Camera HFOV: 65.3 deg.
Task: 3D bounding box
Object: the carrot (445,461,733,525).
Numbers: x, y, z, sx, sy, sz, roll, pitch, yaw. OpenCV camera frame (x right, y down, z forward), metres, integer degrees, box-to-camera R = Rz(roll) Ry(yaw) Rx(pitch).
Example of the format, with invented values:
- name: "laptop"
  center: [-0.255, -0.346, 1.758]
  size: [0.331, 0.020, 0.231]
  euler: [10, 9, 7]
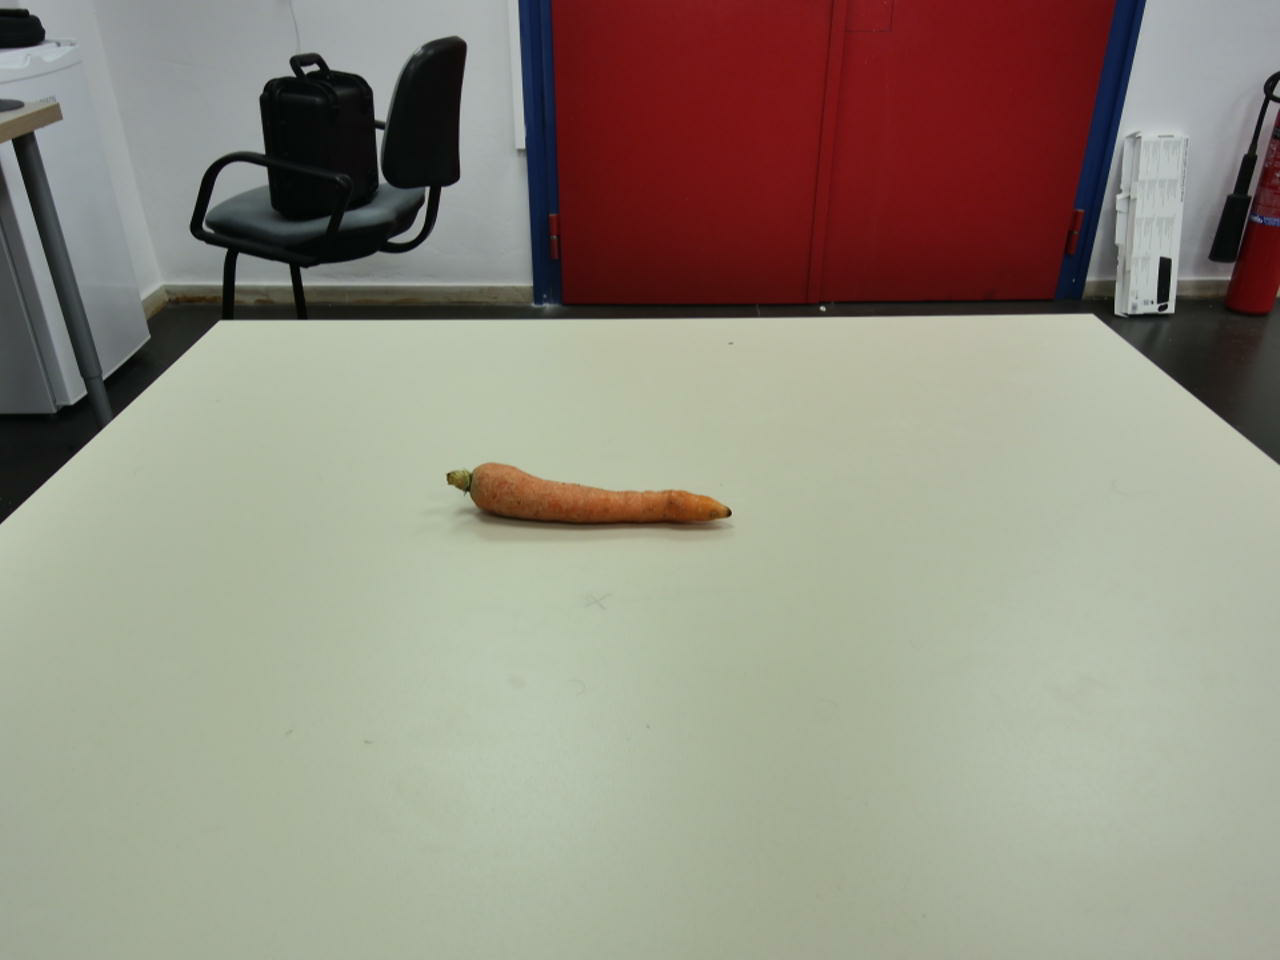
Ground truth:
- name: "carrot"
  center: [-0.031, 0.009, 0.595]
  size: [0.173, 0.032, 0.030]
  euler: [4, 27, 8]
